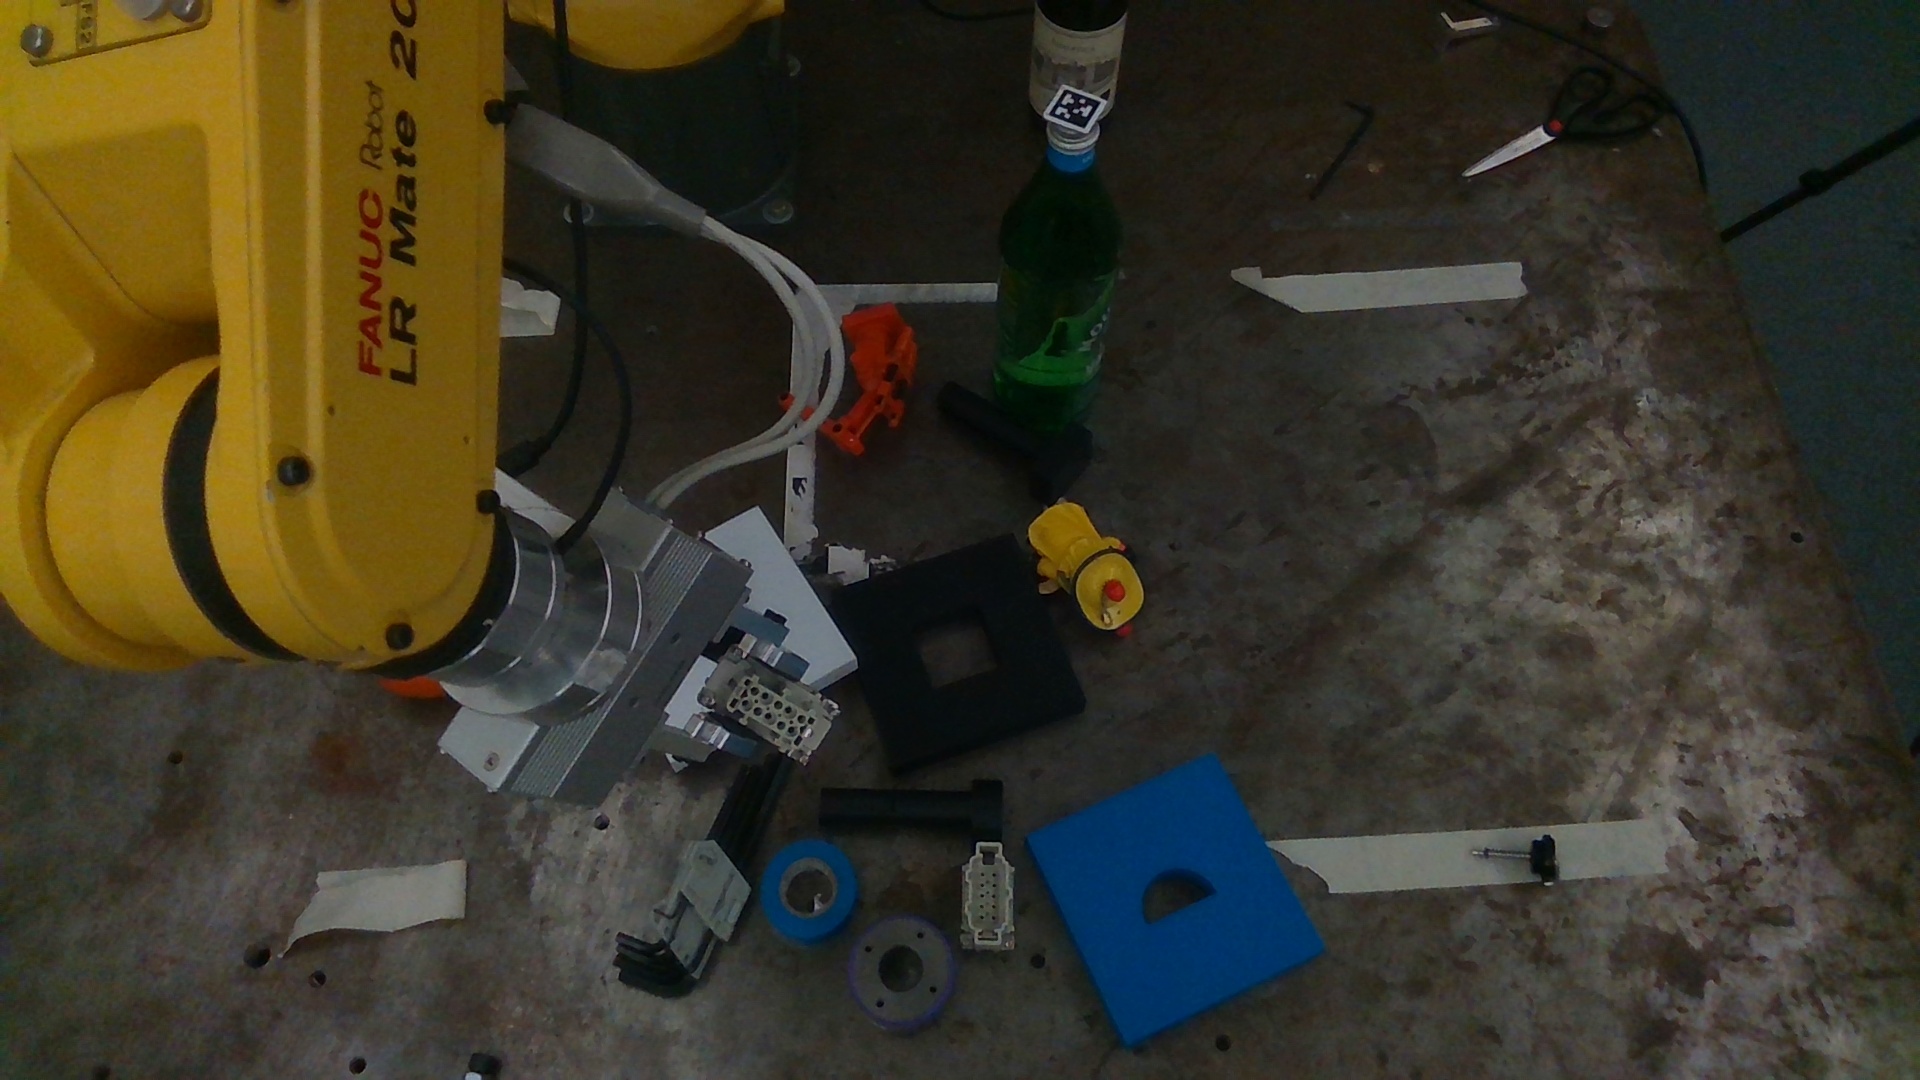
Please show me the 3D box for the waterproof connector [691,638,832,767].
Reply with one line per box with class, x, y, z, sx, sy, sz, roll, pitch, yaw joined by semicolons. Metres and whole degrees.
waterproof connector;-0.099;0.081;0.699;0.069;0.039;0.036;39;82;-8
